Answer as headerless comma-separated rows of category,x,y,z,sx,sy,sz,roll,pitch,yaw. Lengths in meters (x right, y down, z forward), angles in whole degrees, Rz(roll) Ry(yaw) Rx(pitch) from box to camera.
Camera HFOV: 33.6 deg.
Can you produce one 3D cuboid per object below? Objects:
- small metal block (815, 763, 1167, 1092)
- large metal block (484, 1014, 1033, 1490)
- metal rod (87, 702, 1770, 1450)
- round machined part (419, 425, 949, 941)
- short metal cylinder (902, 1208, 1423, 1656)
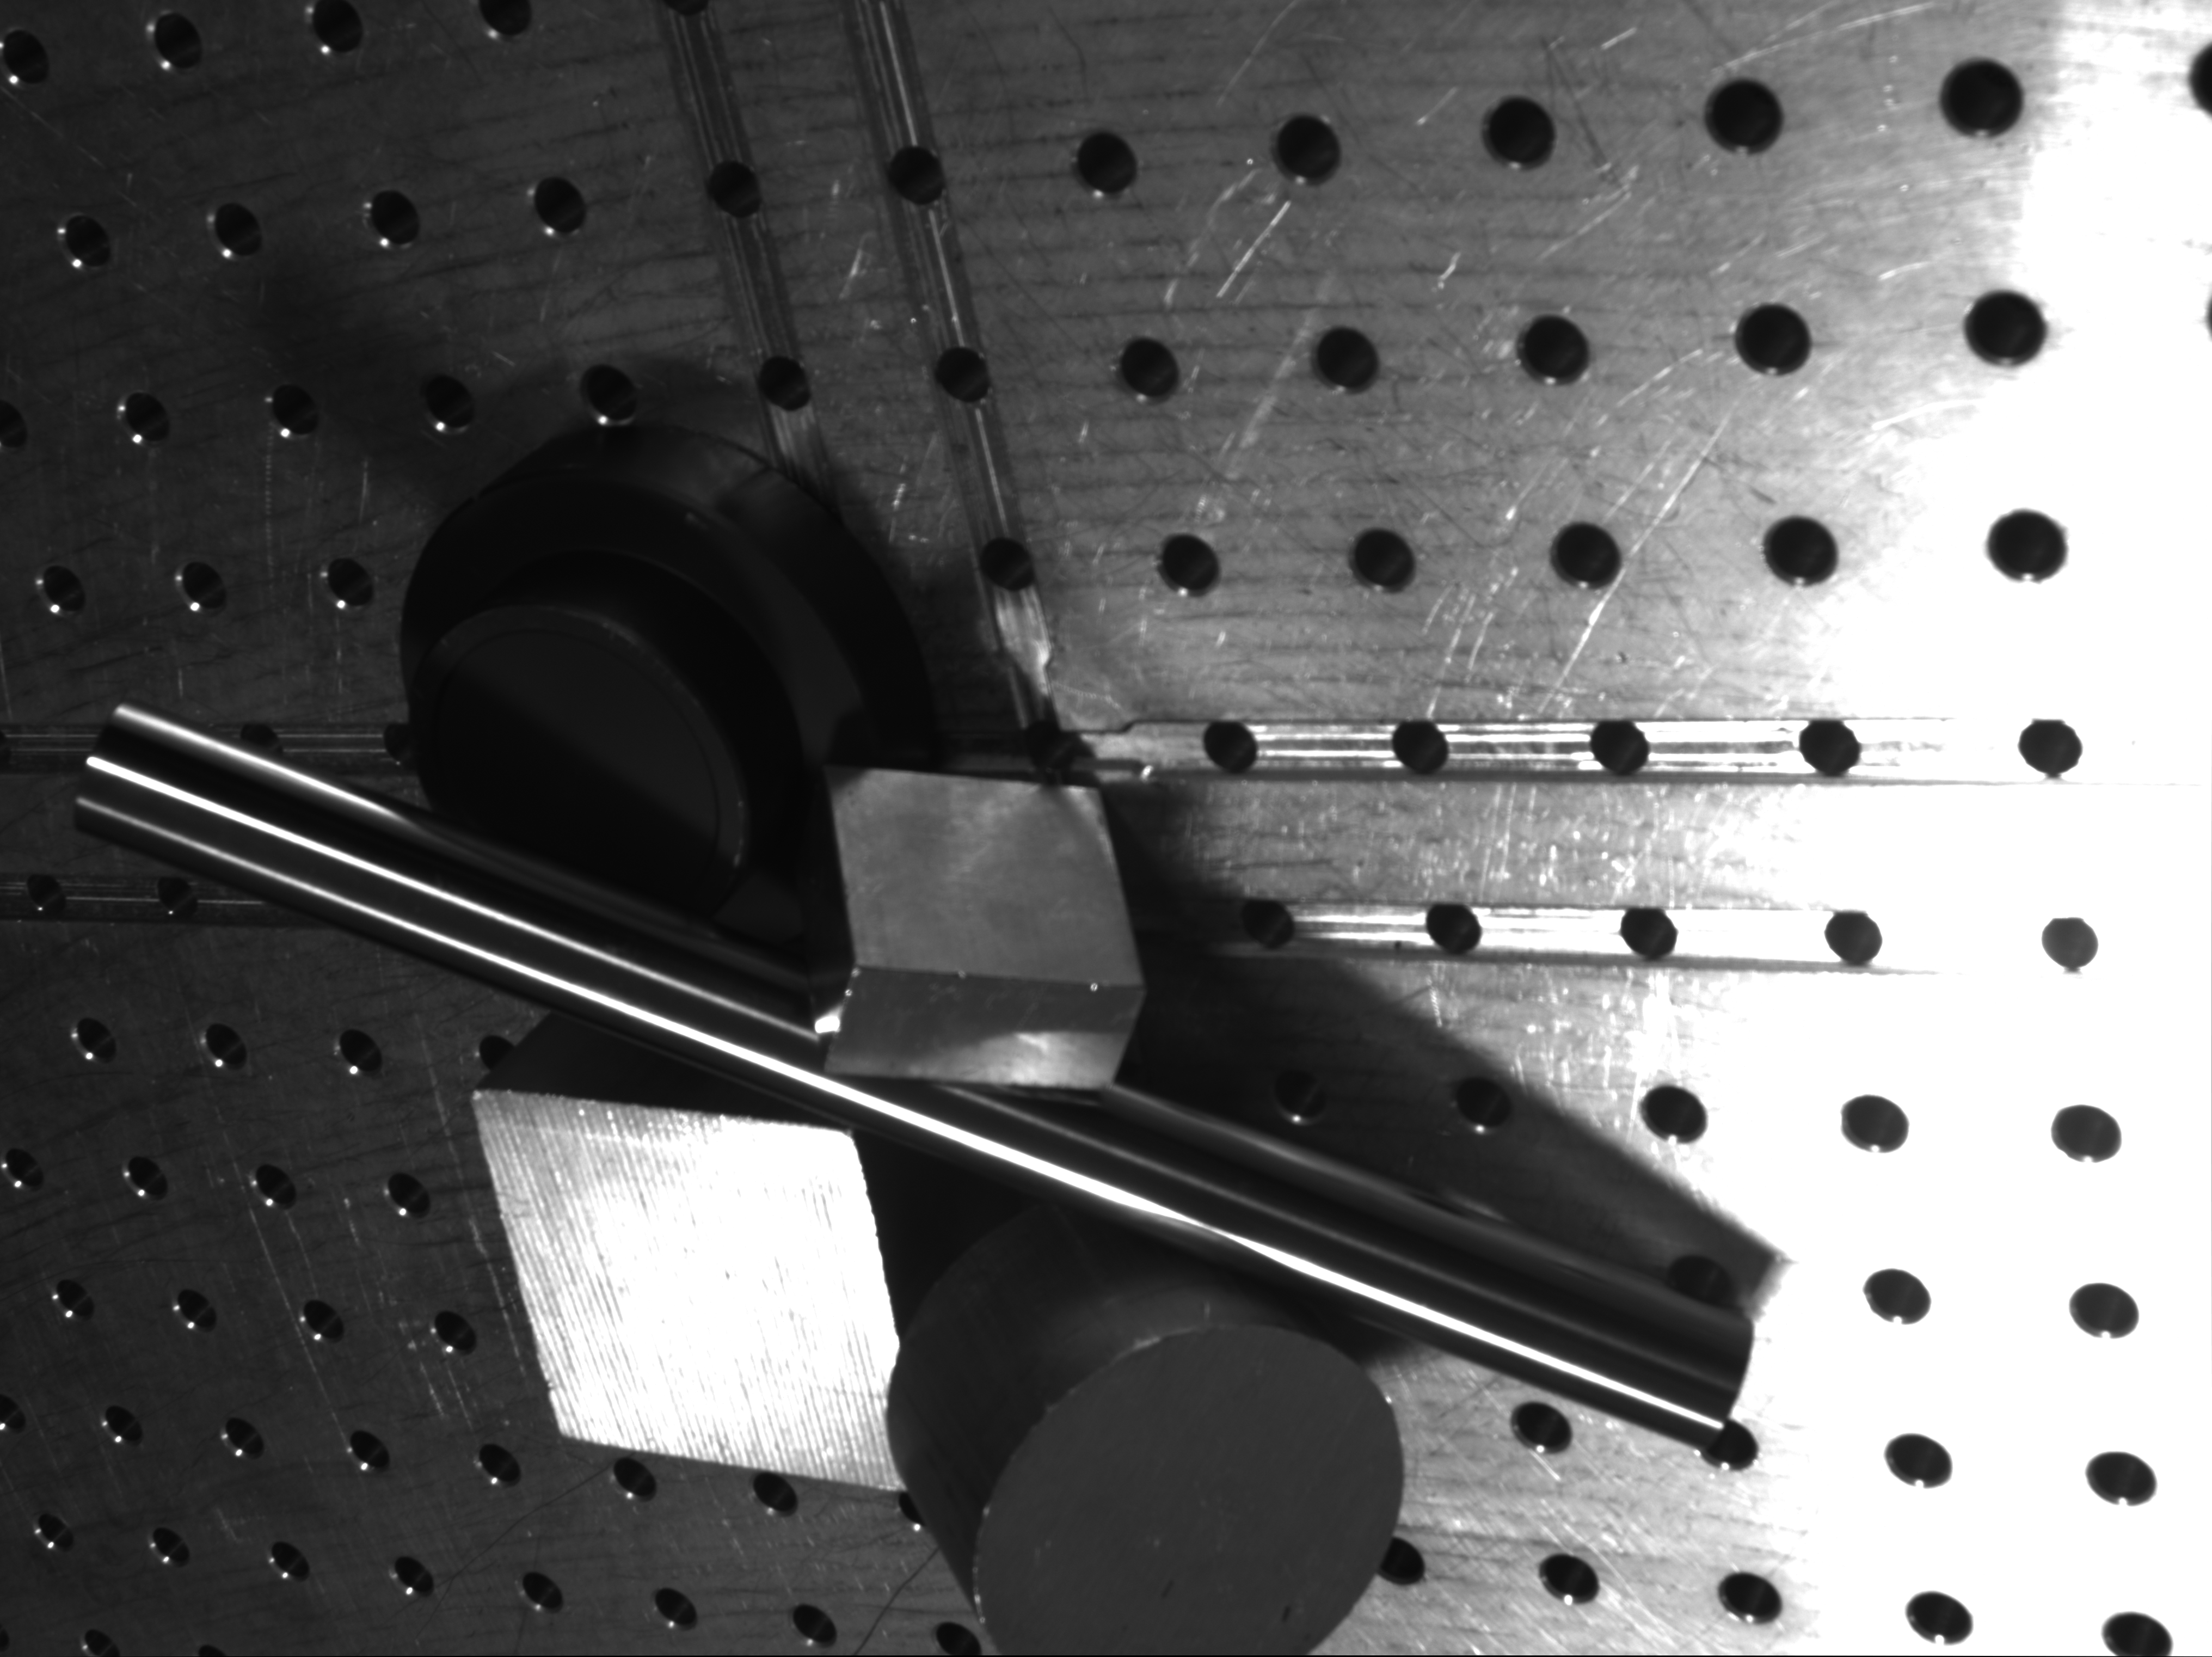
small metal block,-0.021,0.017,0.626,0.050,0.050,0.025,5,131,-16
large metal block,-0.062,0.073,0.690,0.080,0.050,0.080,5,120,24
metal rod,-0.030,0.043,0.634,0.300,0.025,0.025,21,127,-1
round machined part,-0.081,-0.019,0.653,0.098,0.042,0.098,12,123,20
short metal cylinder,0.009,0.111,0.653,0.080,0.050,0.080,-9,116,-19
